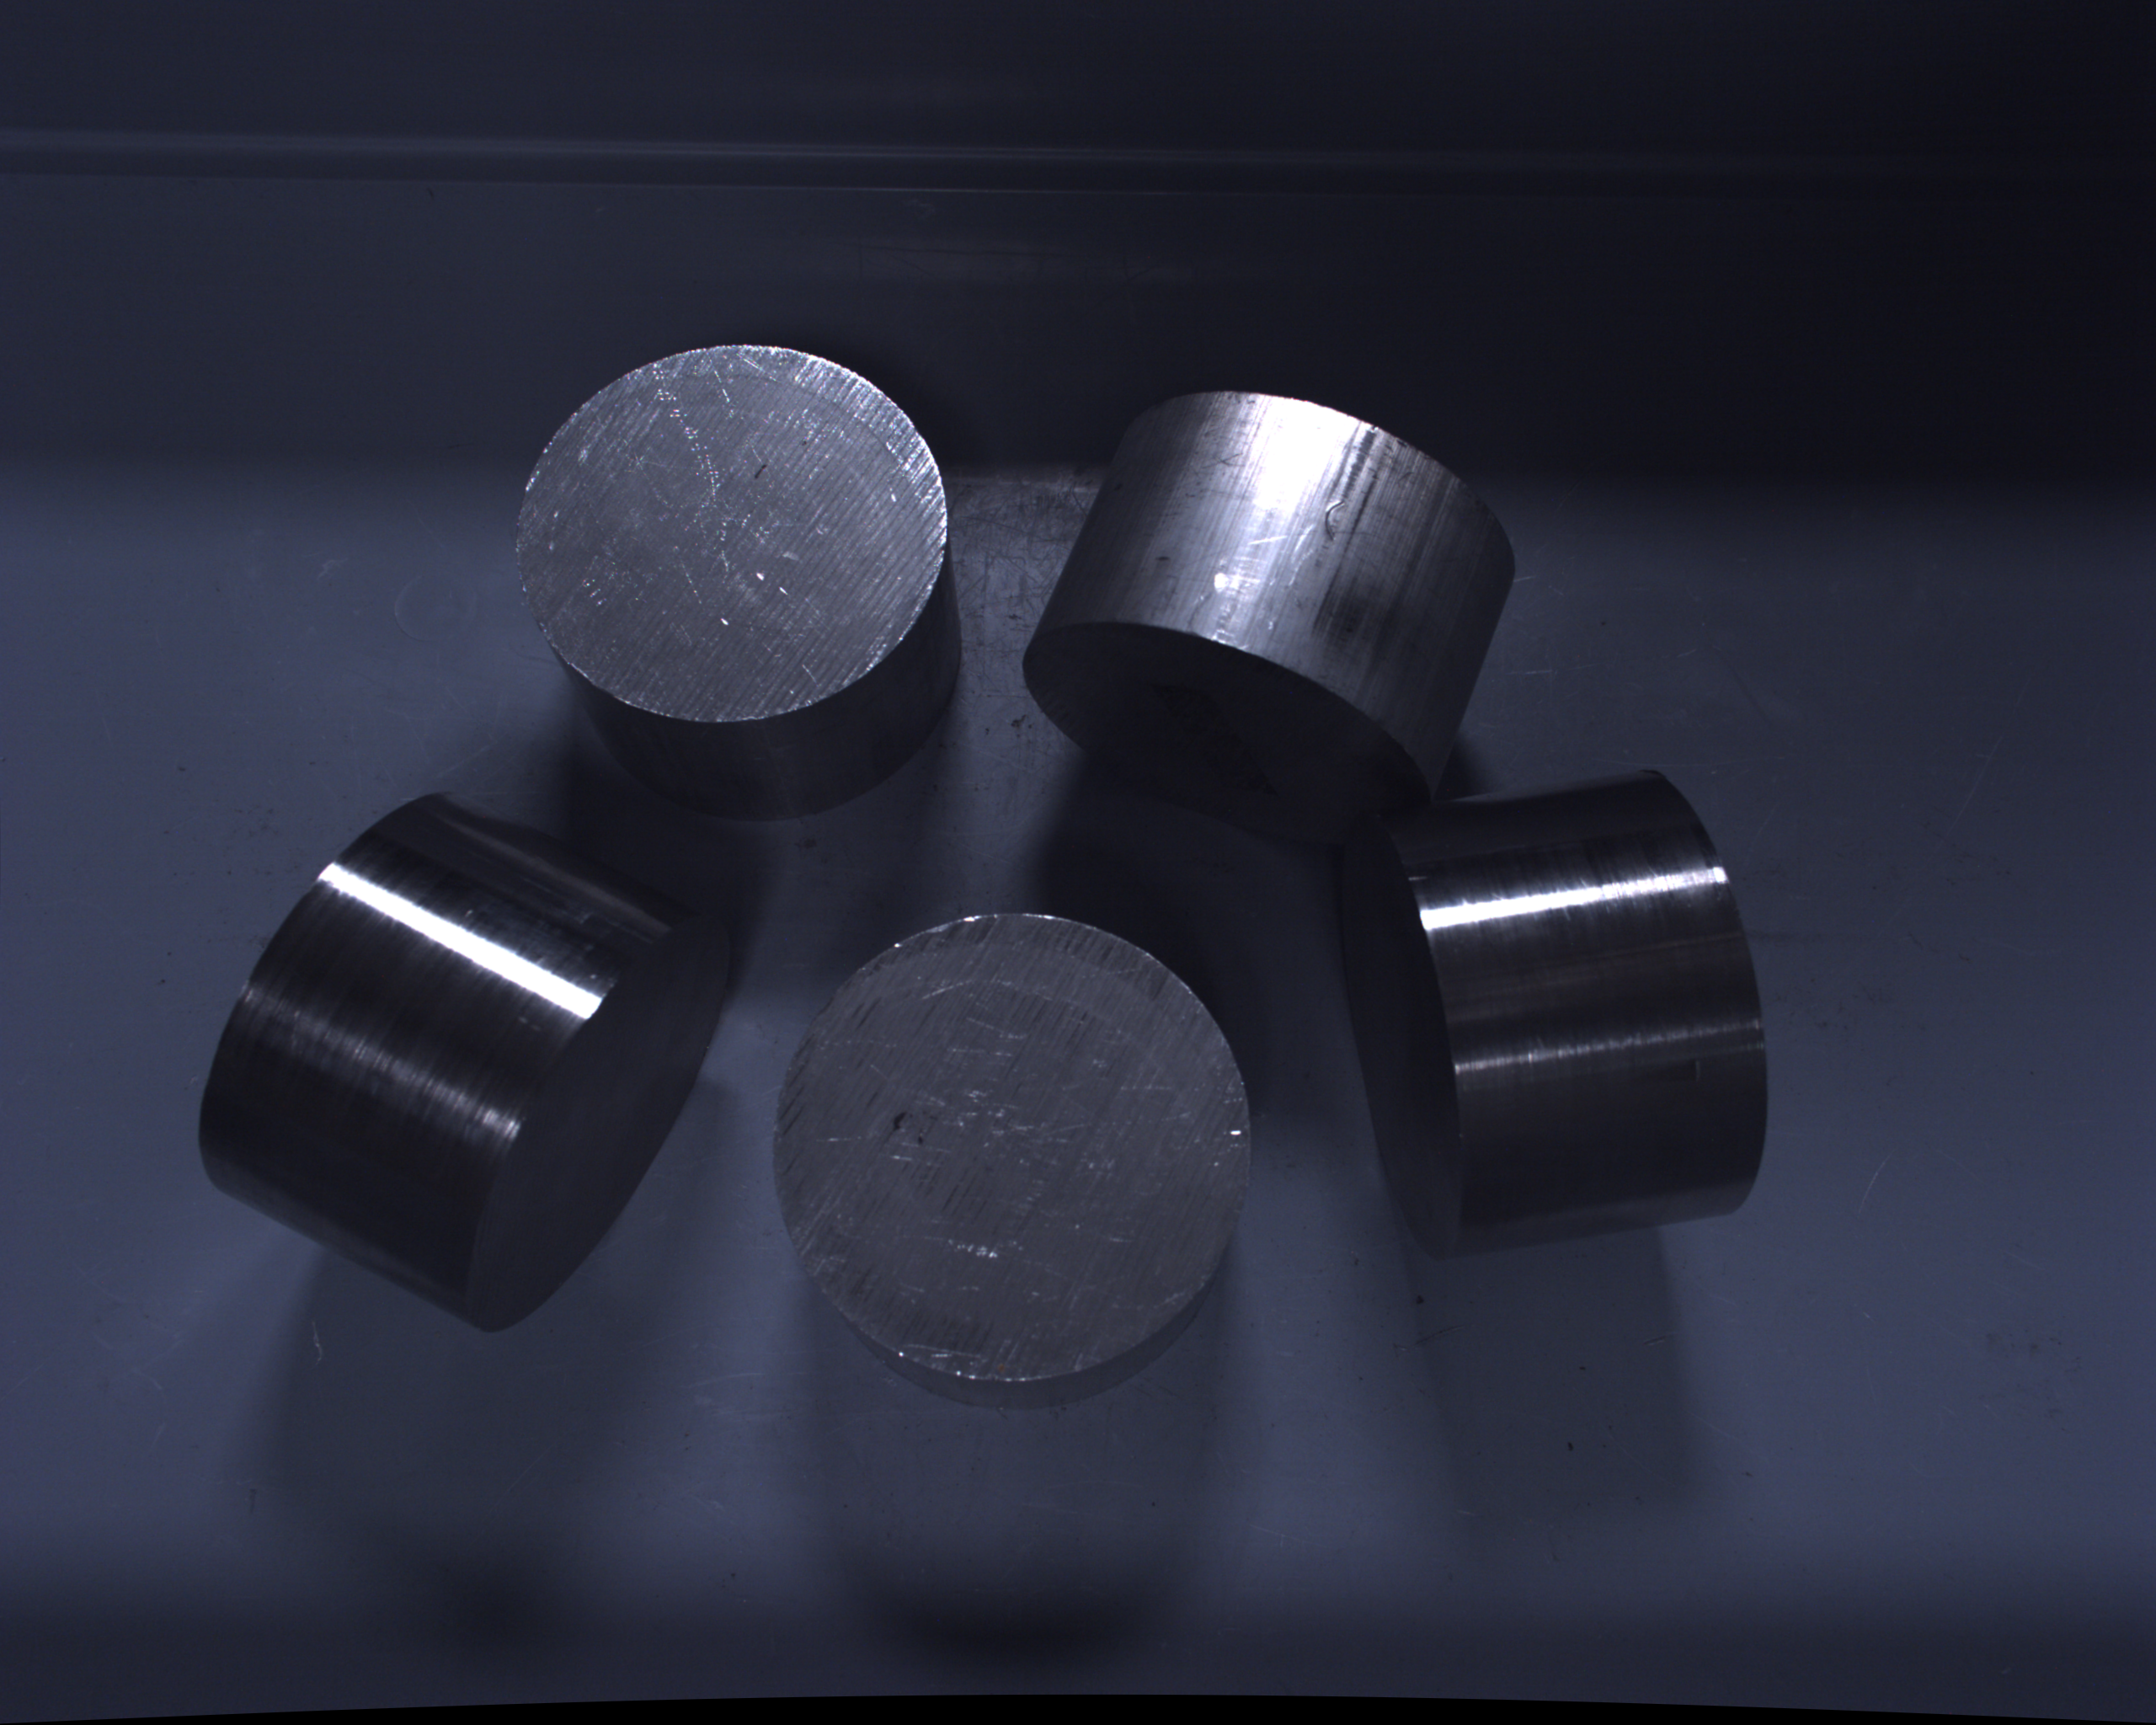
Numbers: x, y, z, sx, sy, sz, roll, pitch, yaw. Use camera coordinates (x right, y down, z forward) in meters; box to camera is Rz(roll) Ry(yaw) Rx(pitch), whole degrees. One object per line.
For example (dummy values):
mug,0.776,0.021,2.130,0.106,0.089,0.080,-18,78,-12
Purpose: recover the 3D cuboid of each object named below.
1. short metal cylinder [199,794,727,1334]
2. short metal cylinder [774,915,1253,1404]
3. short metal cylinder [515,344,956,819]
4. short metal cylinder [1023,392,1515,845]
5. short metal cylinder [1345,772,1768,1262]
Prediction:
short metal cylinder,-0.104,0.034,0.364,0.050,0.080,0.080,26,72,9
short metal cylinder,-0.011,0.055,0.374,0.081,0.050,0.080,0,70,0
short metal cylinder,-0.065,-0.055,0.414,0.081,0.050,0.080,0,70,0
short metal cylinder,0.036,-0.044,0.397,0.080,0.080,0.050,20,71,7
short metal cylinder,0.081,0.027,0.370,0.050,0.080,0.080,-8,70,-3
